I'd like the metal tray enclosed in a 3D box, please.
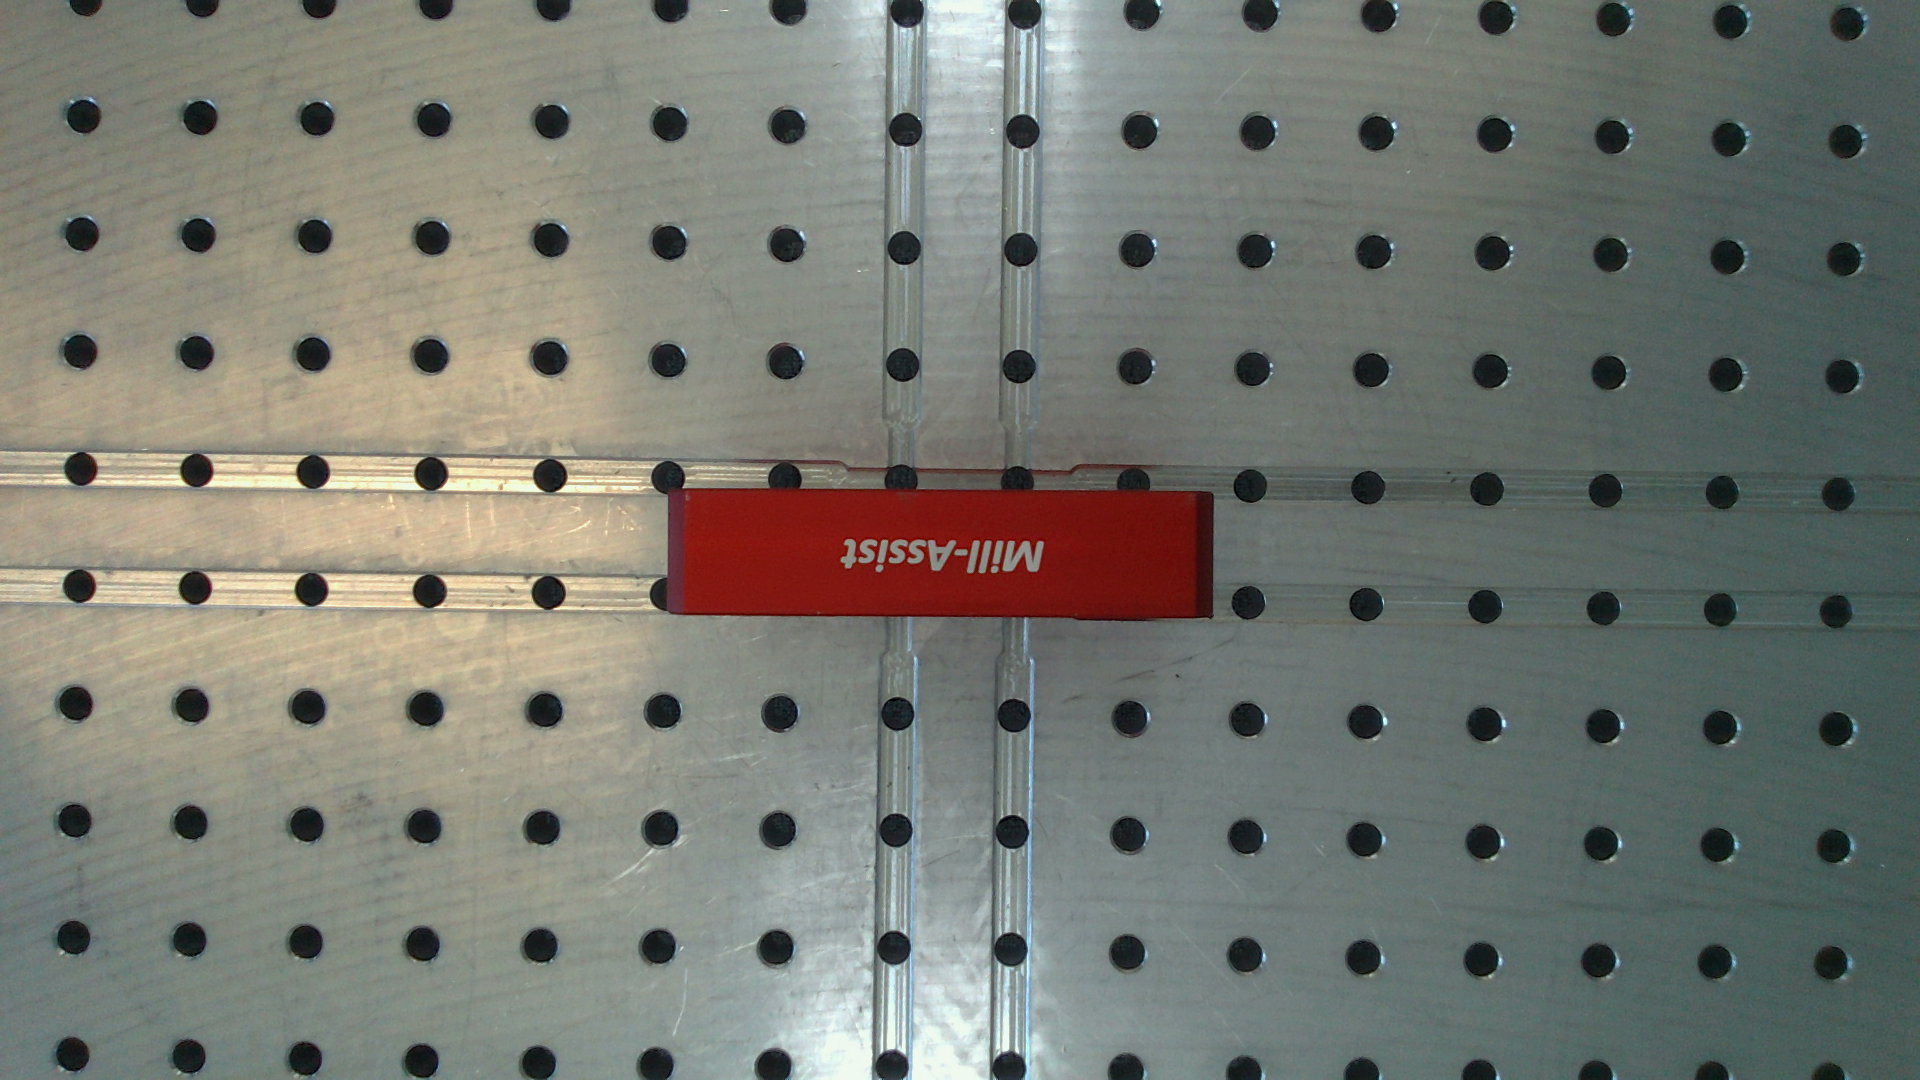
[{"bbox_3d":[-0.004,0.003,0.365,0.130,0.090,0.030,0,90,0],"label":"metal tray"}]
